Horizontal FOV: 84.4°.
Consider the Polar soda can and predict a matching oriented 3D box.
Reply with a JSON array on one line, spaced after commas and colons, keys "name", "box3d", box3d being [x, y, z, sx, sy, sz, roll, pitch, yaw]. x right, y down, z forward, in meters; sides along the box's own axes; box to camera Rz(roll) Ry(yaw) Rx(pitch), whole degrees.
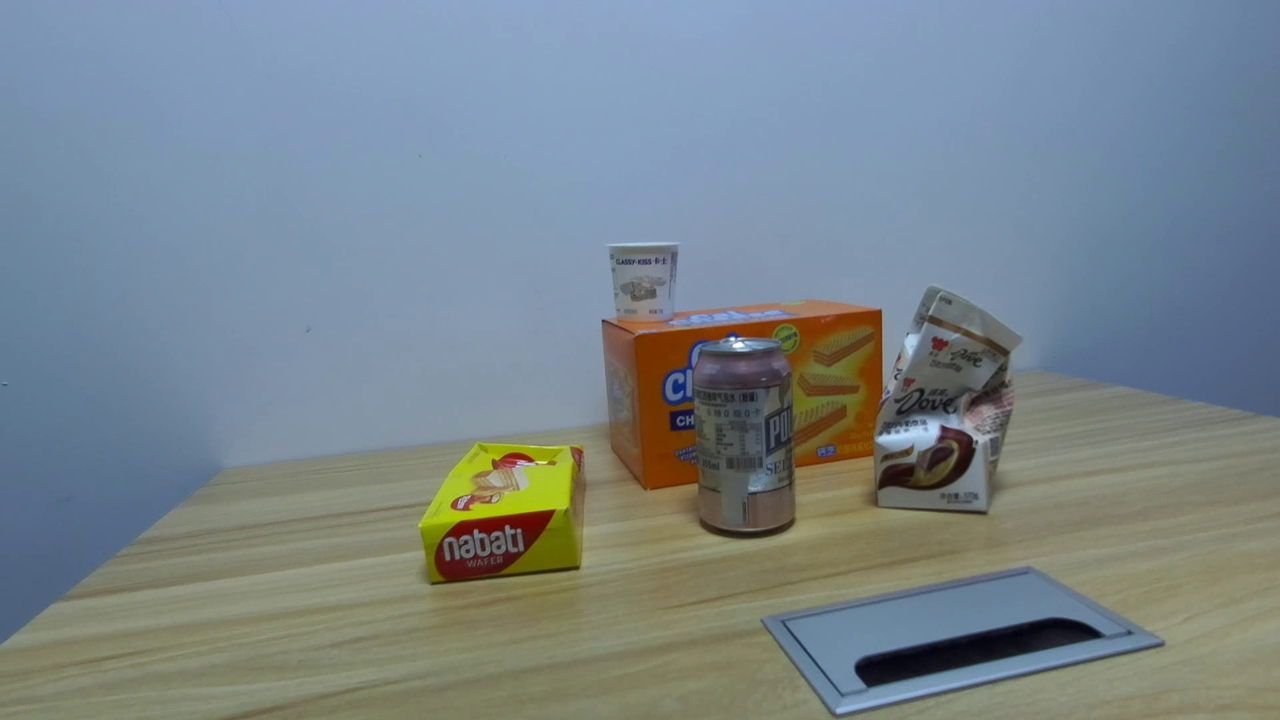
[{"name": "Polar soda can", "box3d": [0.070, 0.050, 0.478, 0.067, 0.125, 0.067, -3, 7, 1]}]

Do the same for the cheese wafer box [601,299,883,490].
[{"name": "cheese wafer box", "box3d": [0.088, 0.022, 0.646, 0.222, 0.129, 0.148, -6, 10, -14]}]

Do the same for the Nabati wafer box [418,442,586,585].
[{"name": "Nabati wafer box", "box3d": [-0.091, 0.098, 0.522, 0.096, 0.042, 0.203, -7, 8, -2]}]

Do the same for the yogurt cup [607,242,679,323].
[{"name": "yogurt cup", "box3d": [0.004, -0.070, 0.644, 0.072, 0.068, 0.072, -2, 8, 1]}]

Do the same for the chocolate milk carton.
[{"name": "chocolate milk carton", "box3d": [0.213, 0.029, 0.493, 0.089, 0.155, 0.077, 13, 17, 14]}]
